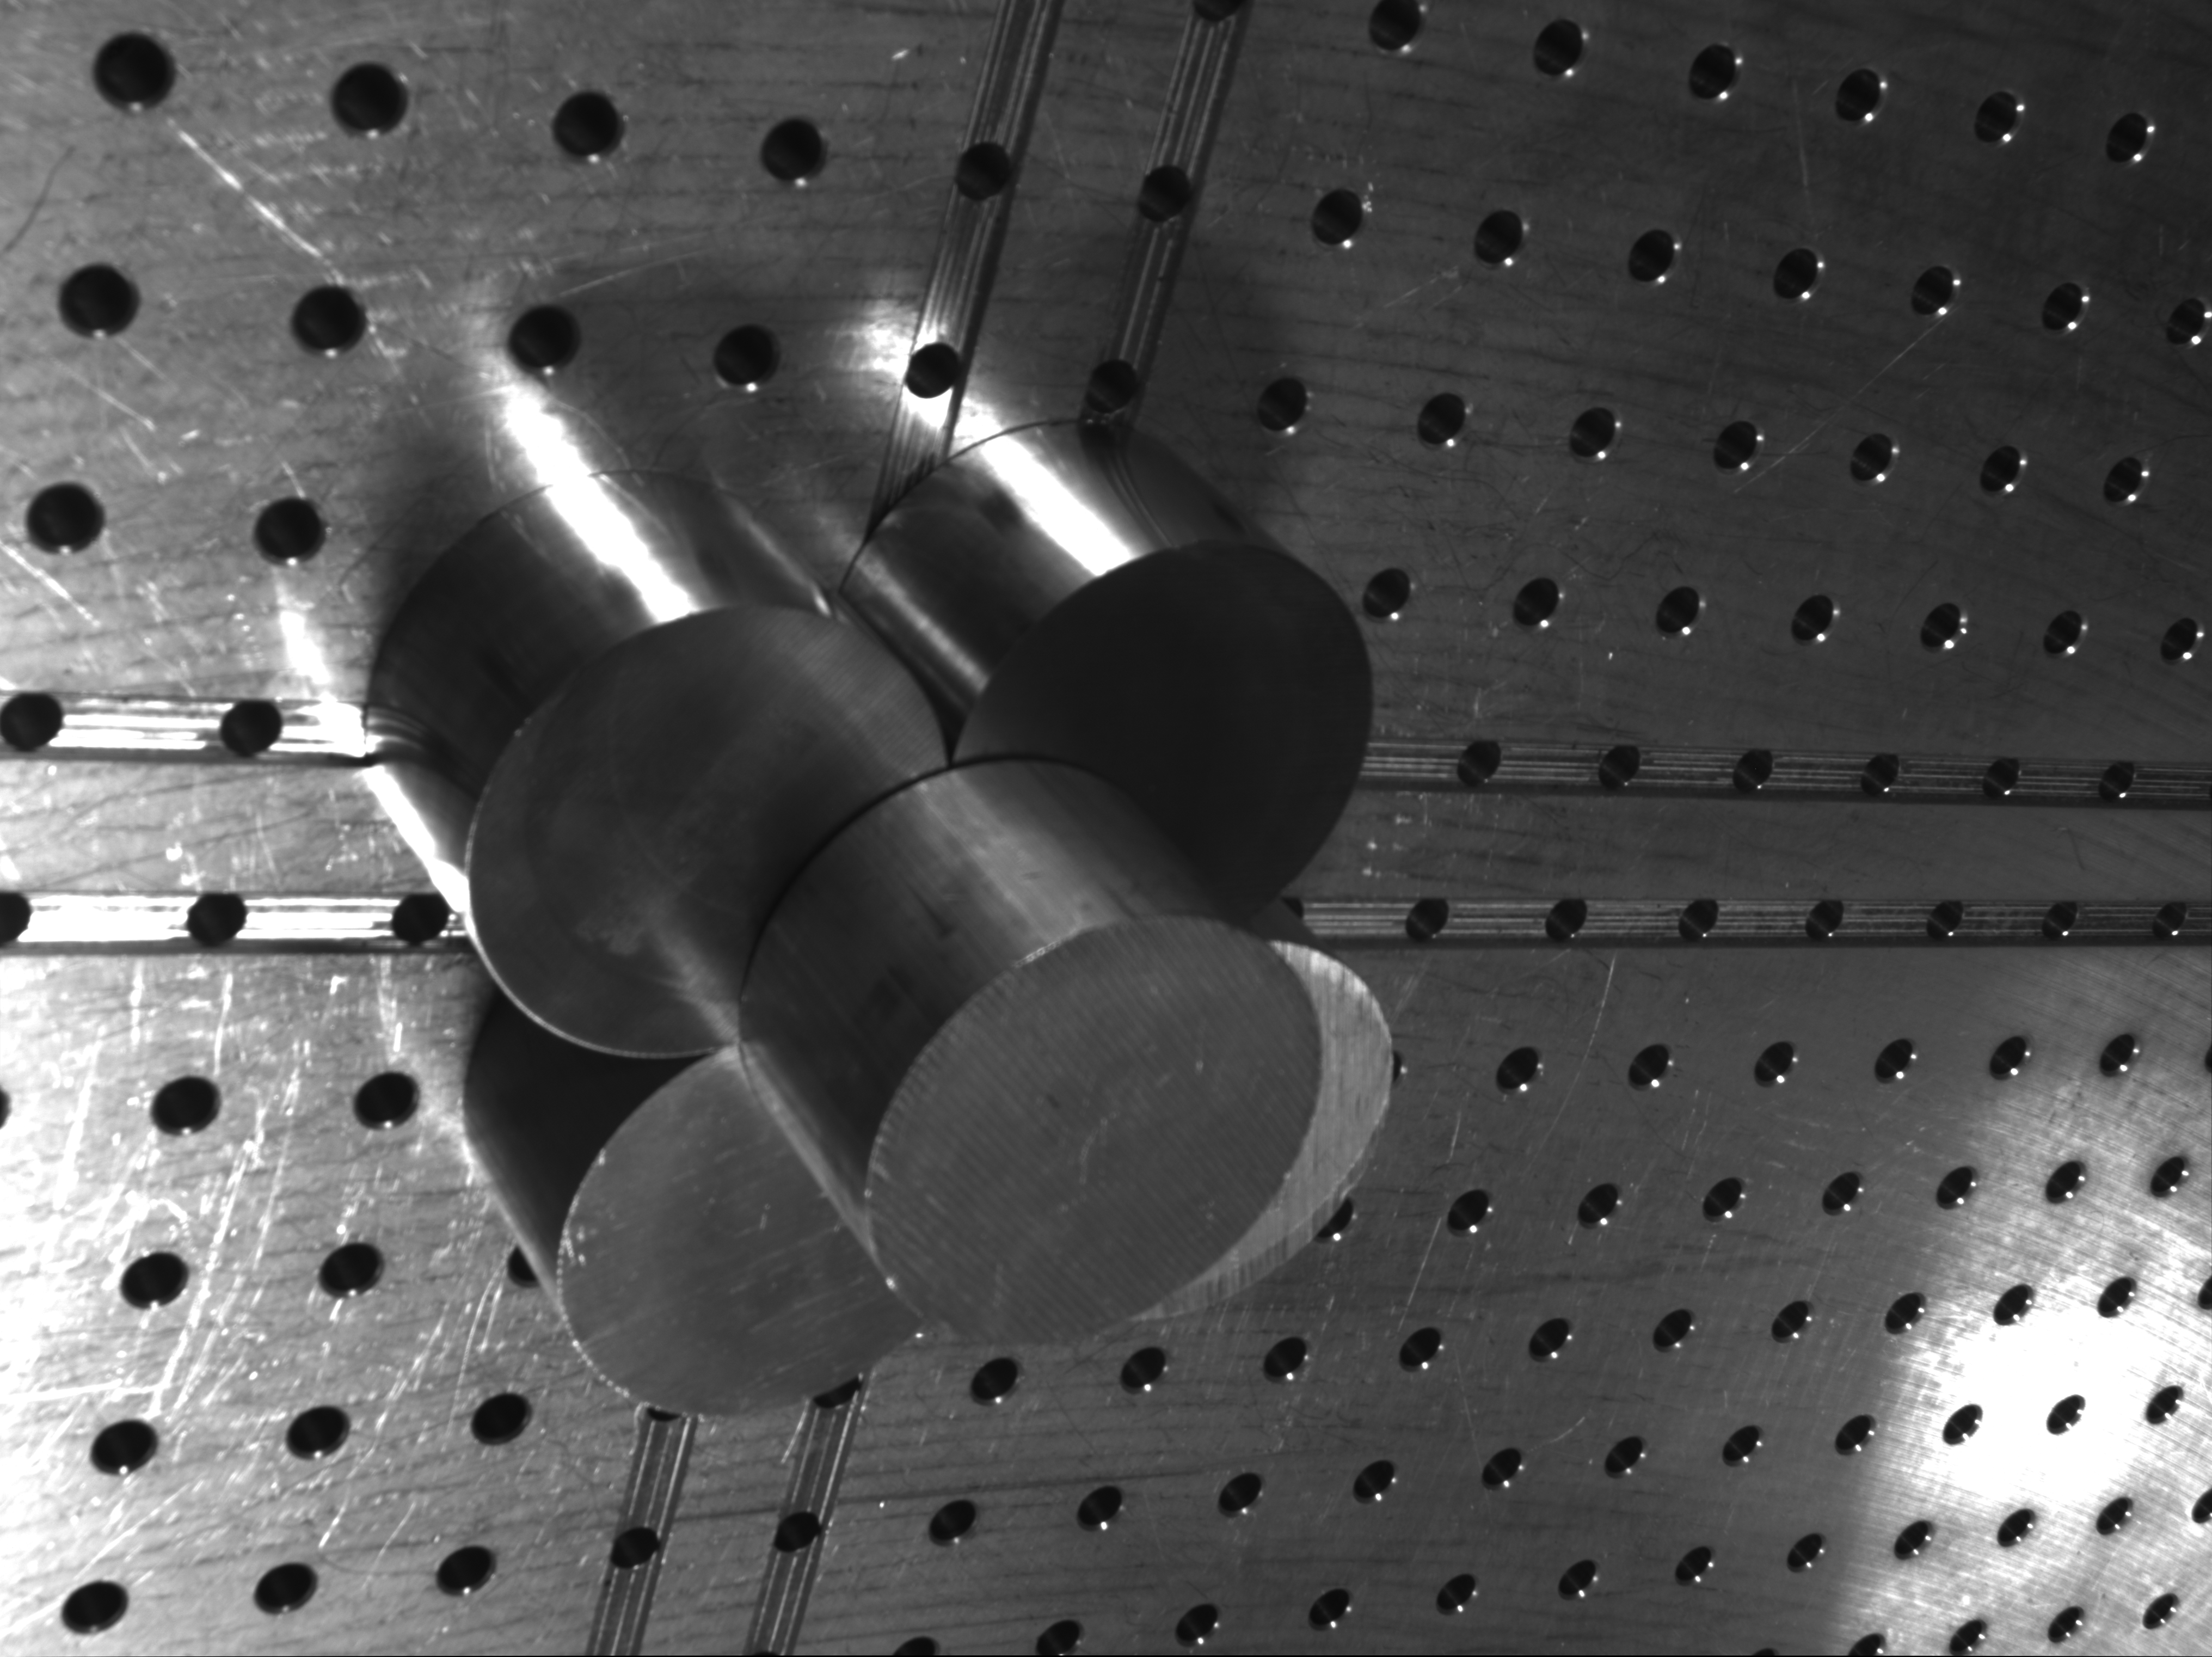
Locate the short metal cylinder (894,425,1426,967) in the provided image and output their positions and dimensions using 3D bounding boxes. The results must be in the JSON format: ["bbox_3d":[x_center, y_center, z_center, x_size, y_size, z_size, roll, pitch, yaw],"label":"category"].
[{"bbox_3d":[0.007,-0.022,0.627,0.080,0.050,0.080,-15,125,-22],"label":"short metal cylinder"}]

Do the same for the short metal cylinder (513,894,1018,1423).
[{"bbox_3d":[-0.057,0.056,0.638,0.080,0.050,0.080,-15,125,-22],"label":"short metal cylinder"}]

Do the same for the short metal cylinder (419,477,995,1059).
[{"bbox_3d":[-0.065,-0.010,0.593,0.080,0.050,0.080,-15,125,-22],"label":"short metal cylinder"}]

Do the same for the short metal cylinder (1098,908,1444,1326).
[{"bbox_3d":[0.015,0.044,0.672,0.080,0.050,0.080,-15,125,-22],"label":"short metal cylinder"}]

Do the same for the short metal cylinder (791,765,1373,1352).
[{"bbox_3d":[-0.004,0.037,0.590,0.080,0.050,0.080,-16,127,-22],"label":"short metal cylinder"}]
